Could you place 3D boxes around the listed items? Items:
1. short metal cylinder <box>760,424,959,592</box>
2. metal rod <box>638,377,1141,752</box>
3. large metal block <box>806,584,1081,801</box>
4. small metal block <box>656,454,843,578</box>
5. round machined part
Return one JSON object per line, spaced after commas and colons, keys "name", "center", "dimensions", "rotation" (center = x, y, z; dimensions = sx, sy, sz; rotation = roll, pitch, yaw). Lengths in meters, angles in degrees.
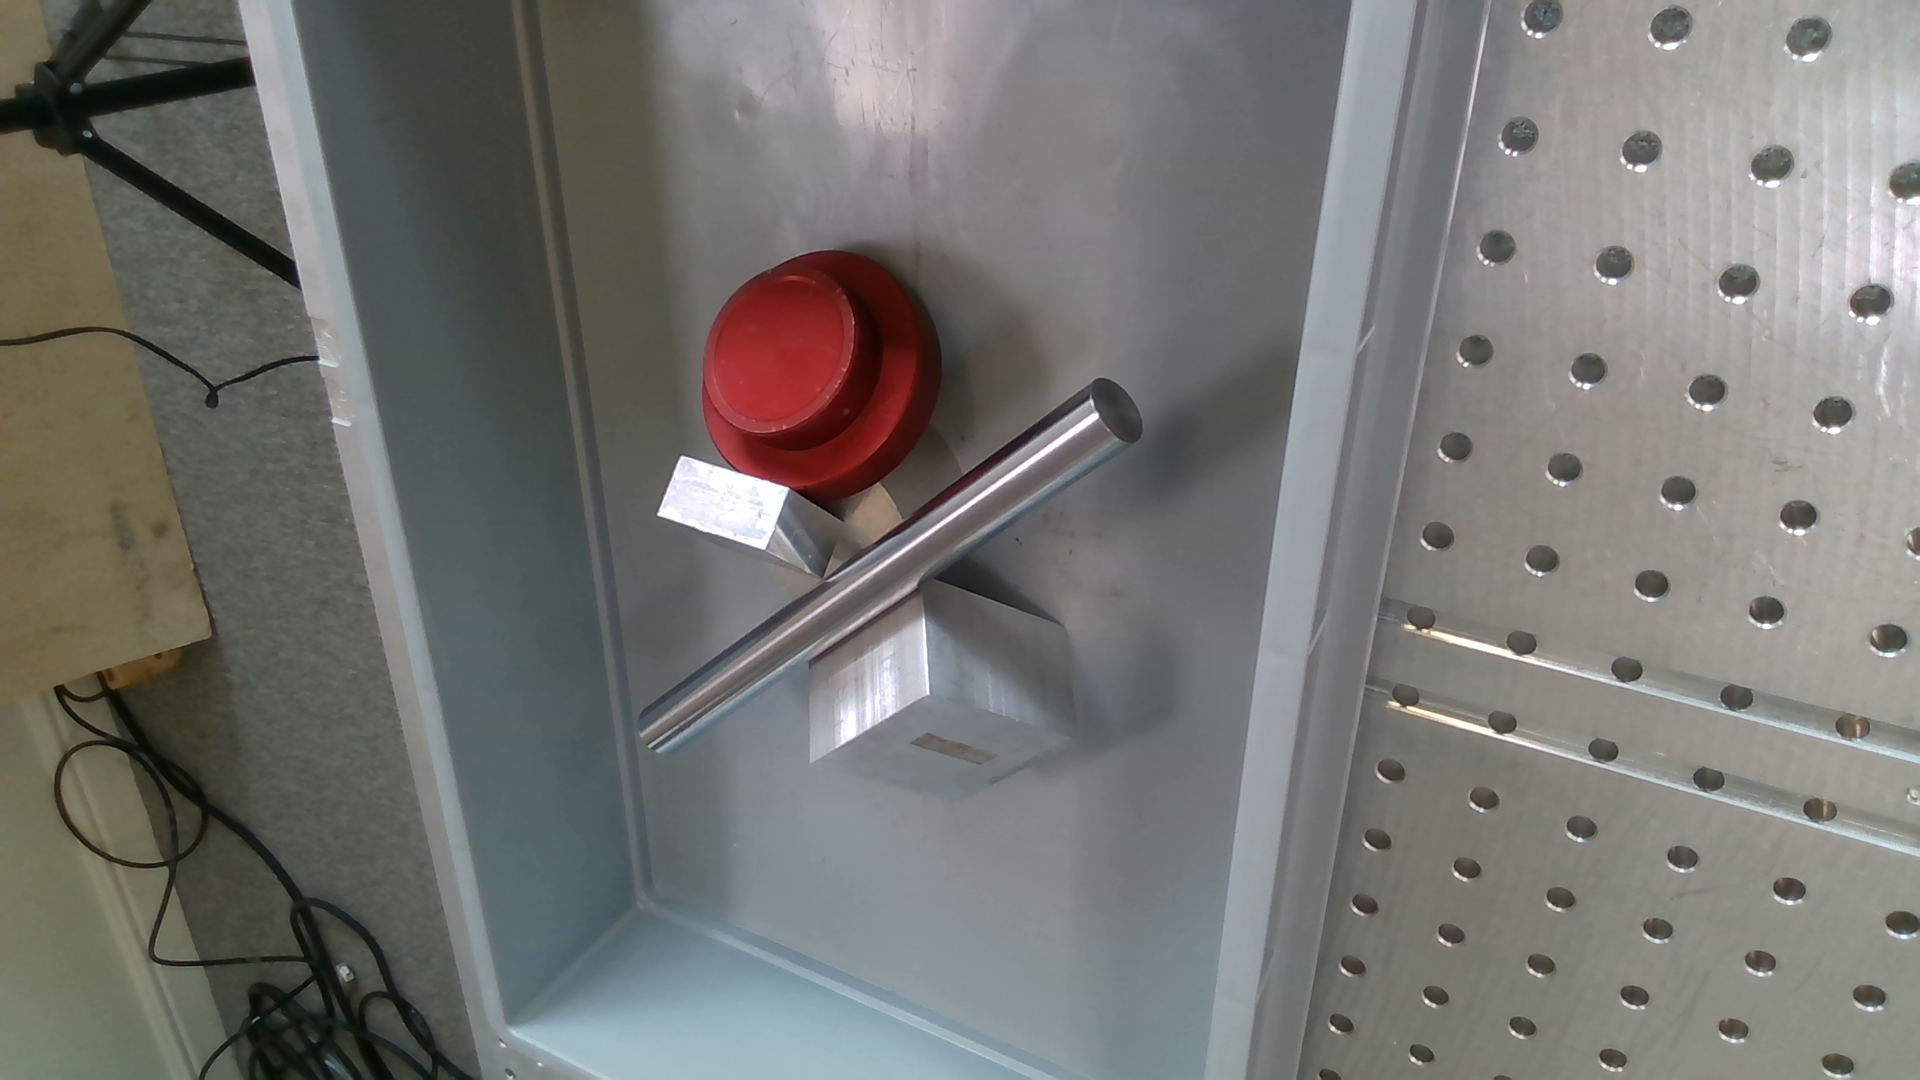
{"name": "short metal cylinder", "center": [-0.044, -0.013, 0.582], "dimensions": [0.080, 0.050, 0.080], "rotation": [14, 122, 25]}
{"name": "metal rod", "center": [-0.044, 0.022, 0.553], "dimensions": [0.301, 0.025, 0.025], "rotation": [-34, 95, 39]}
{"name": "large metal block", "center": [-0.009, 0.065, 0.576], "dimensions": [0.080, 0.050, 0.080], "rotation": [21, 140, -34]}
{"name": "small metal block", "center": [-0.082, -0.009, 0.541], "dimensions": [0.050, 0.050, 0.025], "rotation": [17, 83, 23]}
{"name": "round machined part", "center": [-0.060, -0.068, 0.534], "dimensions": [0.098, 0.042, 0.098], "rotation": [-7, 74, 24]}
